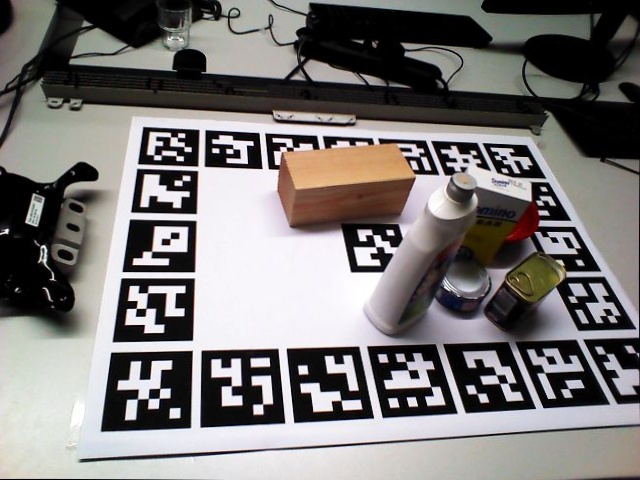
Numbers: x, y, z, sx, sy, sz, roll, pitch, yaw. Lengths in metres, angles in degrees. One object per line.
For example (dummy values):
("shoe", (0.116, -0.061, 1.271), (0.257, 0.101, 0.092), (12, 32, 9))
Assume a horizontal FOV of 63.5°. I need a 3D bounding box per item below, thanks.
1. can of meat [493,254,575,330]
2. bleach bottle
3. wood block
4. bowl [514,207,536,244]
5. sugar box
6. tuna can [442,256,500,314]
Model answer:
("can of meat", (0.310, 0.075, 0.758), (0.101, 0.084, 0.058), (-24, 55, -30))
("bleach bottle", (0.140, 0.015, 0.662), (0.102, 0.252, 0.068), (-21, 55, -26))
("wood block", (0.048, -0.092, 0.850), (0.206, 0.090, 0.090), (-6, 55, -17))
("bowl", (0.306, -0.045, 0.877), (0.162, 0.055, 0.160), (3, 49, -3))
("sugar box", (0.246, -0.025, 0.763), (0.093, 0.177, 0.045), (15, 50, 6))
("tuna can", (0.220, 0.067, 0.773), (0.086, 0.034, 0.085), (5, 52, -6))
